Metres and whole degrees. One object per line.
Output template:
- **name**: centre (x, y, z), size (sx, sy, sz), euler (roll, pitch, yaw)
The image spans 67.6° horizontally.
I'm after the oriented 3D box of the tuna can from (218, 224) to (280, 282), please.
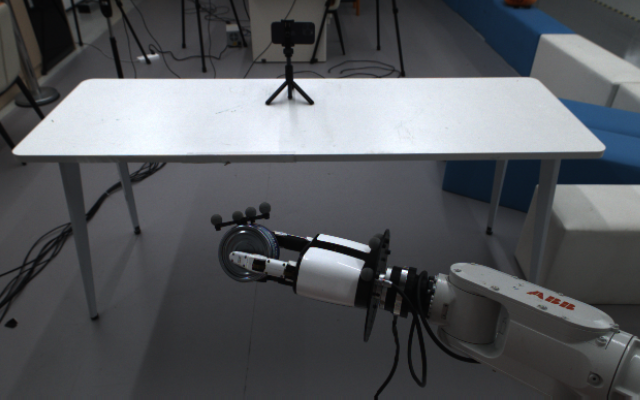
- **tuna can**: centre (-0.102, 0.084, 0.708), size (0.085, 0.085, 0.034), euler (12, 3, 14)
